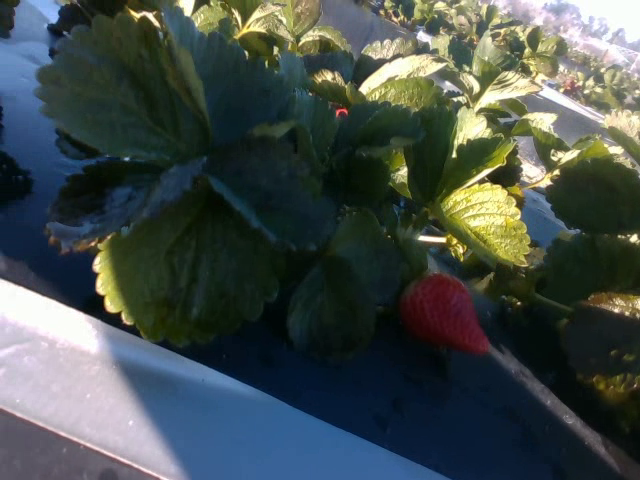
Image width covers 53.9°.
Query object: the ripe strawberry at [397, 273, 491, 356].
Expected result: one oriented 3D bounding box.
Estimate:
[{"bbox_3d":[0.065,0.039,0.312,0.045,0.059,0.042,-29,-31,-13],"label":"ripe strawberry"}]
